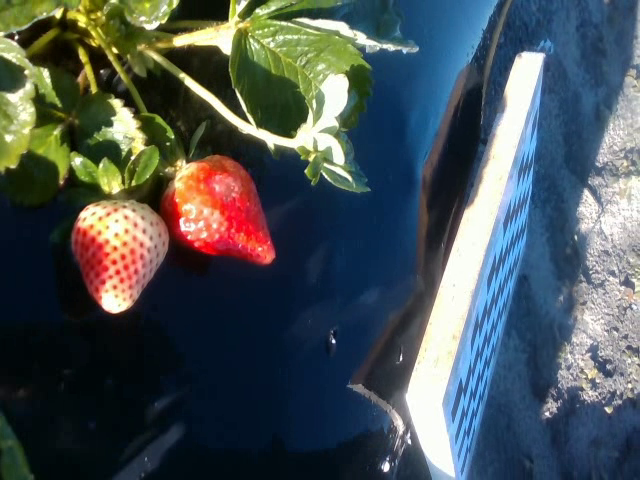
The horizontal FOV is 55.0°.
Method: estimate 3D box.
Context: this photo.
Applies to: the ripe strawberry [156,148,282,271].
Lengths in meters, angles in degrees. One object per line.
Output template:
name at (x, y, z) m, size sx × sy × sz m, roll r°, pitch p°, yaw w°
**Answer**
ripe strawberry at (-0.030, -0.007, 0.222) m, size 0.055 × 0.040 × 0.037 m, roll 41°, pitch 0°, yaw 23°
